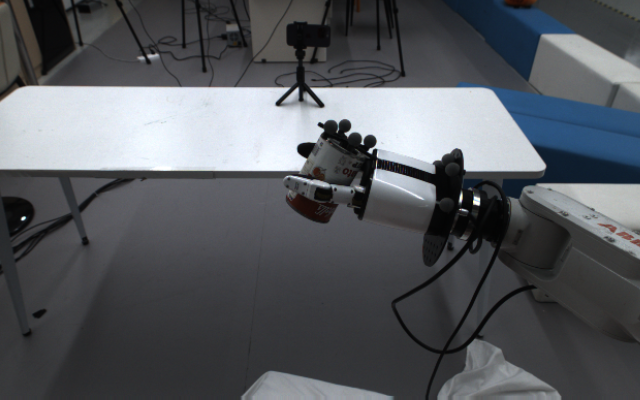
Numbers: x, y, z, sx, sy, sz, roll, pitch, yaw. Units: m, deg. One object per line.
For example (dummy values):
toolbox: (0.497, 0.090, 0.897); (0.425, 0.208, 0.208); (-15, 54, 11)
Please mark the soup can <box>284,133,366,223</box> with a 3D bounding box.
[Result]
soup can: (0.008, -0.029, 0.634); (0.067, 0.101, 0.067); (27, 18, -10)
